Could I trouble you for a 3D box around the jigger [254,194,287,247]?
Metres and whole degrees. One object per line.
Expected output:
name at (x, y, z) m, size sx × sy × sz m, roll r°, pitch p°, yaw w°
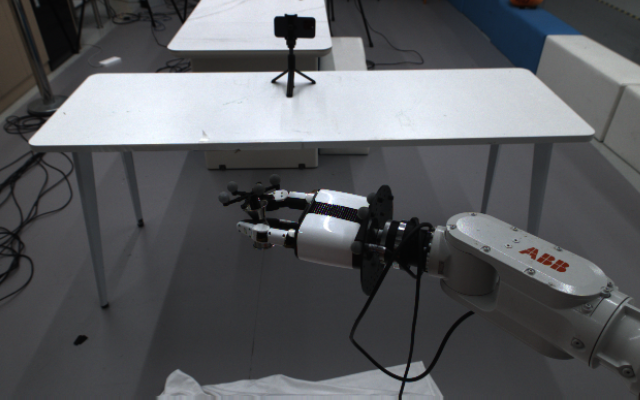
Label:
jigger at (-0.091, 0.038, 0.750) m, size 0.043 × 0.071 × 0.043 m, roll -12°, pitch 24°, yaw 5°
